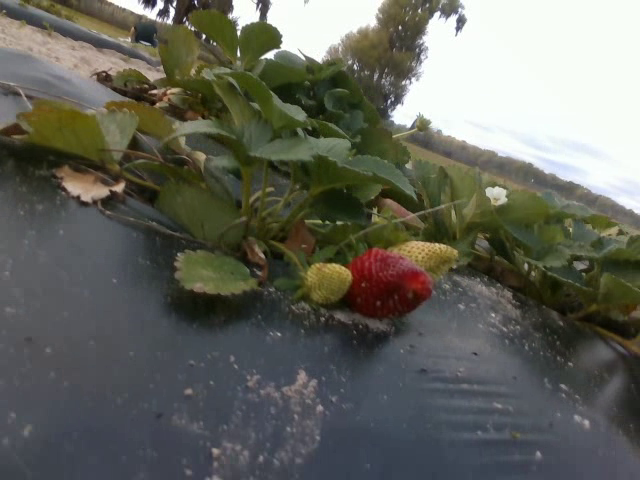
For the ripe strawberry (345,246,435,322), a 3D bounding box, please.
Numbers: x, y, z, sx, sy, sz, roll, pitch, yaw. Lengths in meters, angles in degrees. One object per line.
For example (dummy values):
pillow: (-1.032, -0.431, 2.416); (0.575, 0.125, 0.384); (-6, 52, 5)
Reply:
ripe strawberry: (0.037, 0.024, 0.305); (0.046, 0.046, 0.059); (6, -7, -29)
